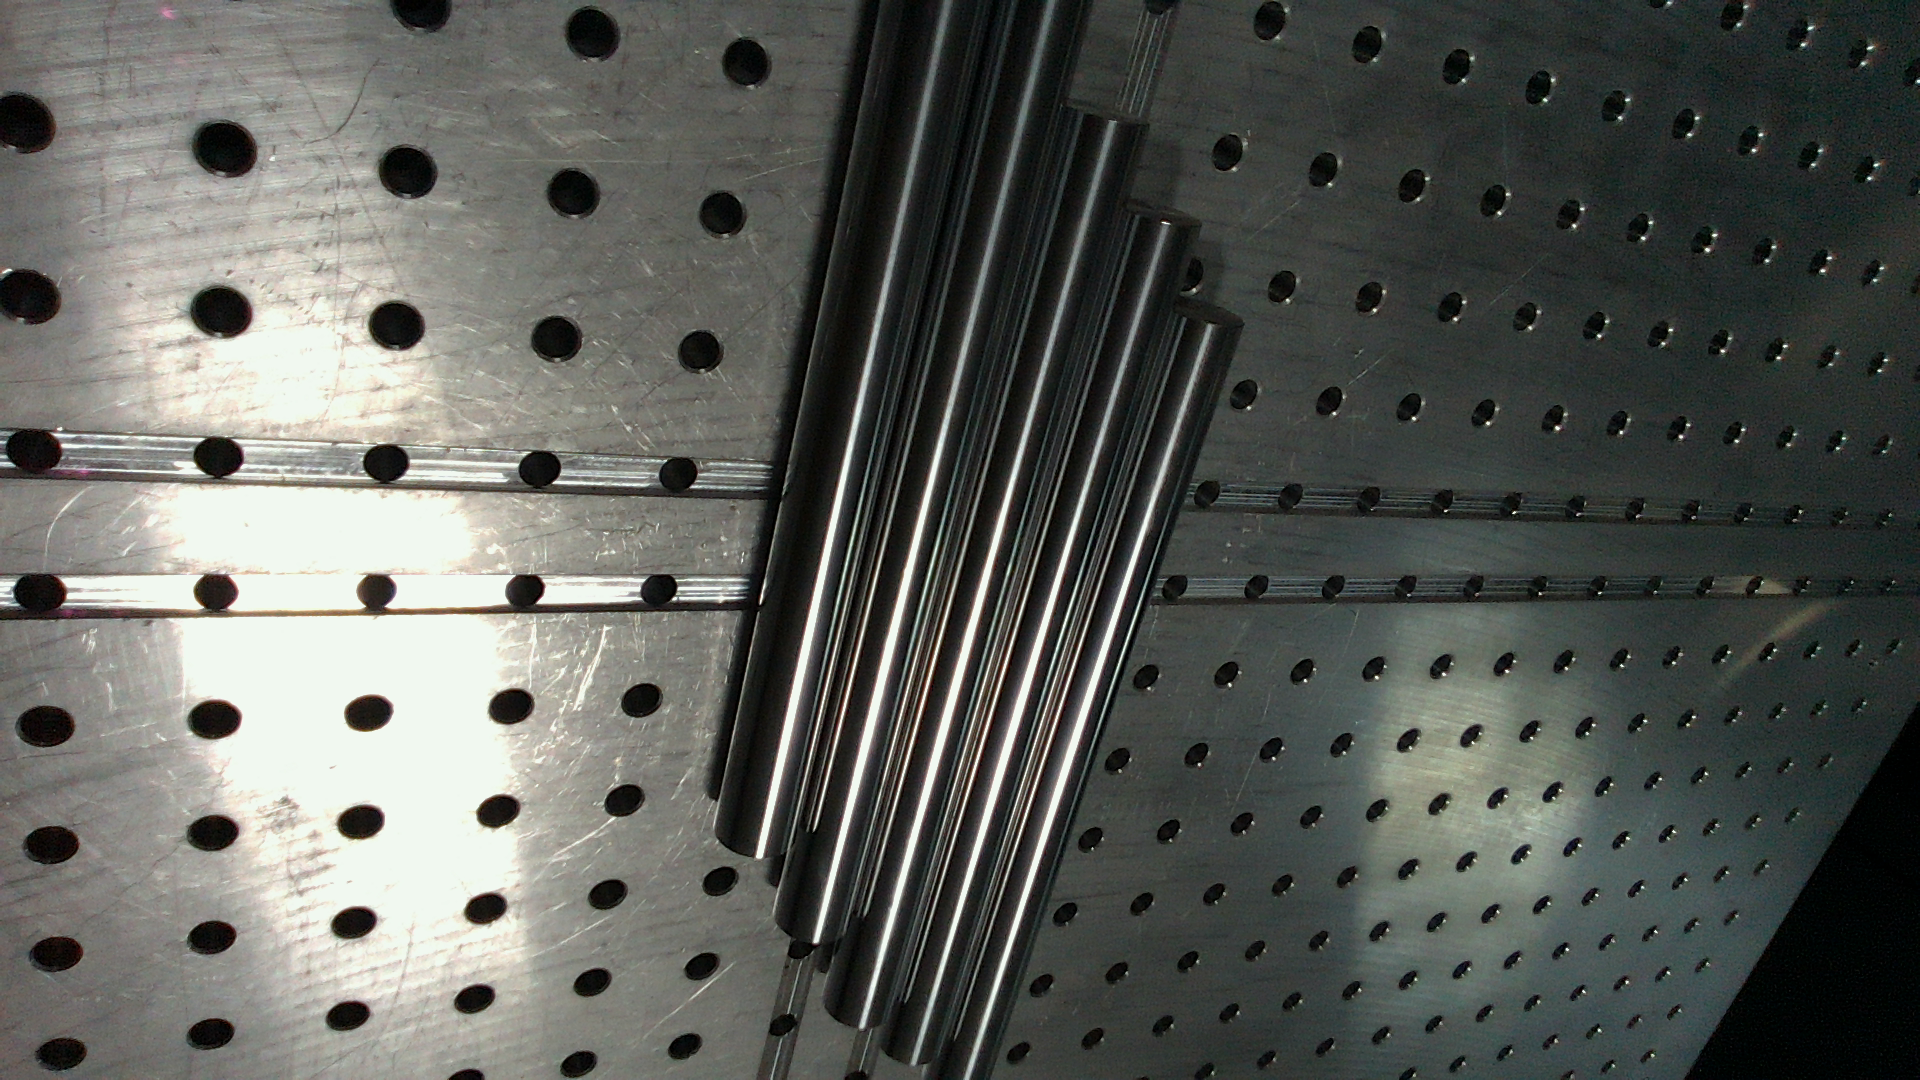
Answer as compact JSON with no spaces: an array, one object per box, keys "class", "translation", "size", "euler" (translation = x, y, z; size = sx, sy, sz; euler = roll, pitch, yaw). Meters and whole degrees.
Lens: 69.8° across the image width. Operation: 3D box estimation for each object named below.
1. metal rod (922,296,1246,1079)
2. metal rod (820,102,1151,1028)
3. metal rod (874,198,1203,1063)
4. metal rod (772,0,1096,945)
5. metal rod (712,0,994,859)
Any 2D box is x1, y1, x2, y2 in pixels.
[{"class":"metal rod","translation":[0.033,0.067,0.450],"size":[0.025,0.025,0.300],"euler":[1,118,-29]},{"class":"metal rod","translation":[0.000,0.025,0.407],"size":[0.025,0.025,0.300],"euler":[1,118,-29]},{"class":"metal rod","translation":[0.017,0.044,0.428],"size":[0.025,0.025,0.300],"euler":[1,118,-29]},{"class":"metal rod","translation":[-0.012,-0.011,0.378],"size":[0.025,0.025,0.300],"euler":[1,118,-29]},{"class":"metal rod","translation":[-0.026,-0.045,0.350],"size":[0.025,0.025,0.300],"euler":[1,118,-29]}]
